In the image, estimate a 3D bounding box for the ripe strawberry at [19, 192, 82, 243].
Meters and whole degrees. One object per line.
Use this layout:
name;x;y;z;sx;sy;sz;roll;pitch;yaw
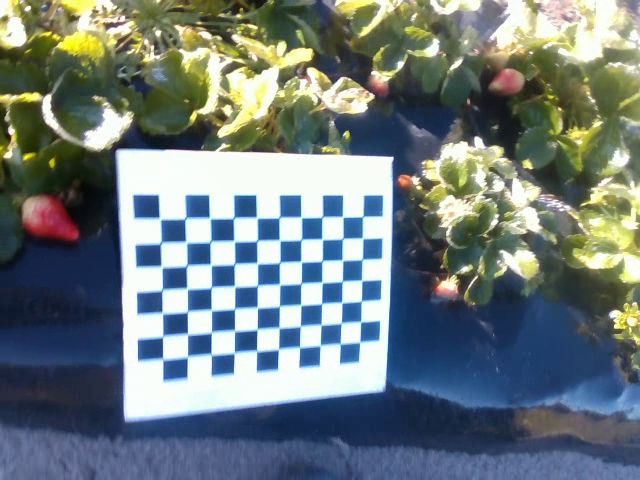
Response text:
ripe strawberry;-0.266;-0.010;0.603;0.065;0.040;0.040;42;-13;-21
